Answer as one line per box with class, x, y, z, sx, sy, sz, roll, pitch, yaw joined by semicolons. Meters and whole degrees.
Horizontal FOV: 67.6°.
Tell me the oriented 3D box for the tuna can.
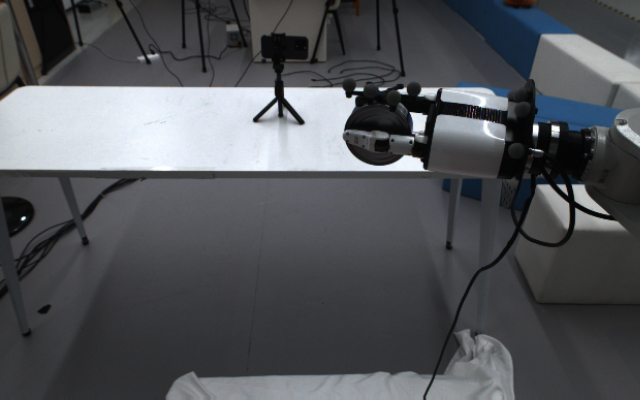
tuna can;0.077;-0.093;0.625;0.085;0.085;0.034;10;34;11
